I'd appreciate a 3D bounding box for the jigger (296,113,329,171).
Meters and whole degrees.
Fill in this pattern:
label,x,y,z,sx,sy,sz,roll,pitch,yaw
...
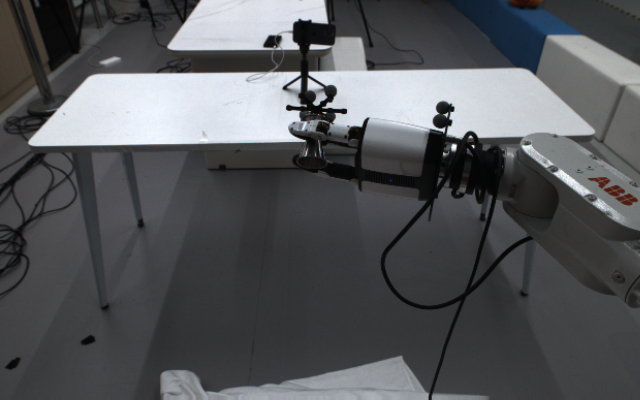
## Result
label,x,y,z,sx,sy,sz,roll,pitch,yaw
jigger,-0.010,-0.084,0.691,0.043,0.043,0.071,4,71,3
